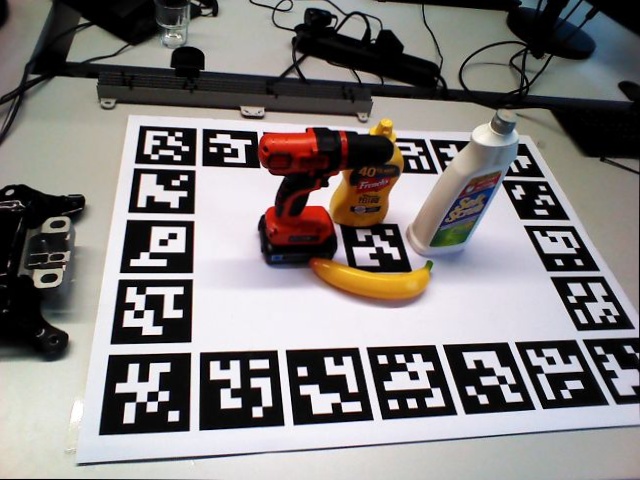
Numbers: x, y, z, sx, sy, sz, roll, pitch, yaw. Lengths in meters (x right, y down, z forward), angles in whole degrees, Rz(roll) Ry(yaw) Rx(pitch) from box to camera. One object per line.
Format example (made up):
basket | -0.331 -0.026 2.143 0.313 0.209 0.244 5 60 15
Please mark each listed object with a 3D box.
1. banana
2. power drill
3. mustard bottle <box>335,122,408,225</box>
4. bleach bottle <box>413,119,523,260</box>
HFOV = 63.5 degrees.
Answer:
banana | 0.098 0.054 0.762 0.197 0.039 0.074 2 55 -8
power drill | -0.001 -0.070 0.720 0.184 0.188 0.057 0 44 -16
mustard bottle | 0.089 -0.104 0.792 0.096 0.192 0.058 2 50 -12
bleach bottle | 0.226 -0.070 0.766 0.102 0.252 0.067 -6 54 -17
